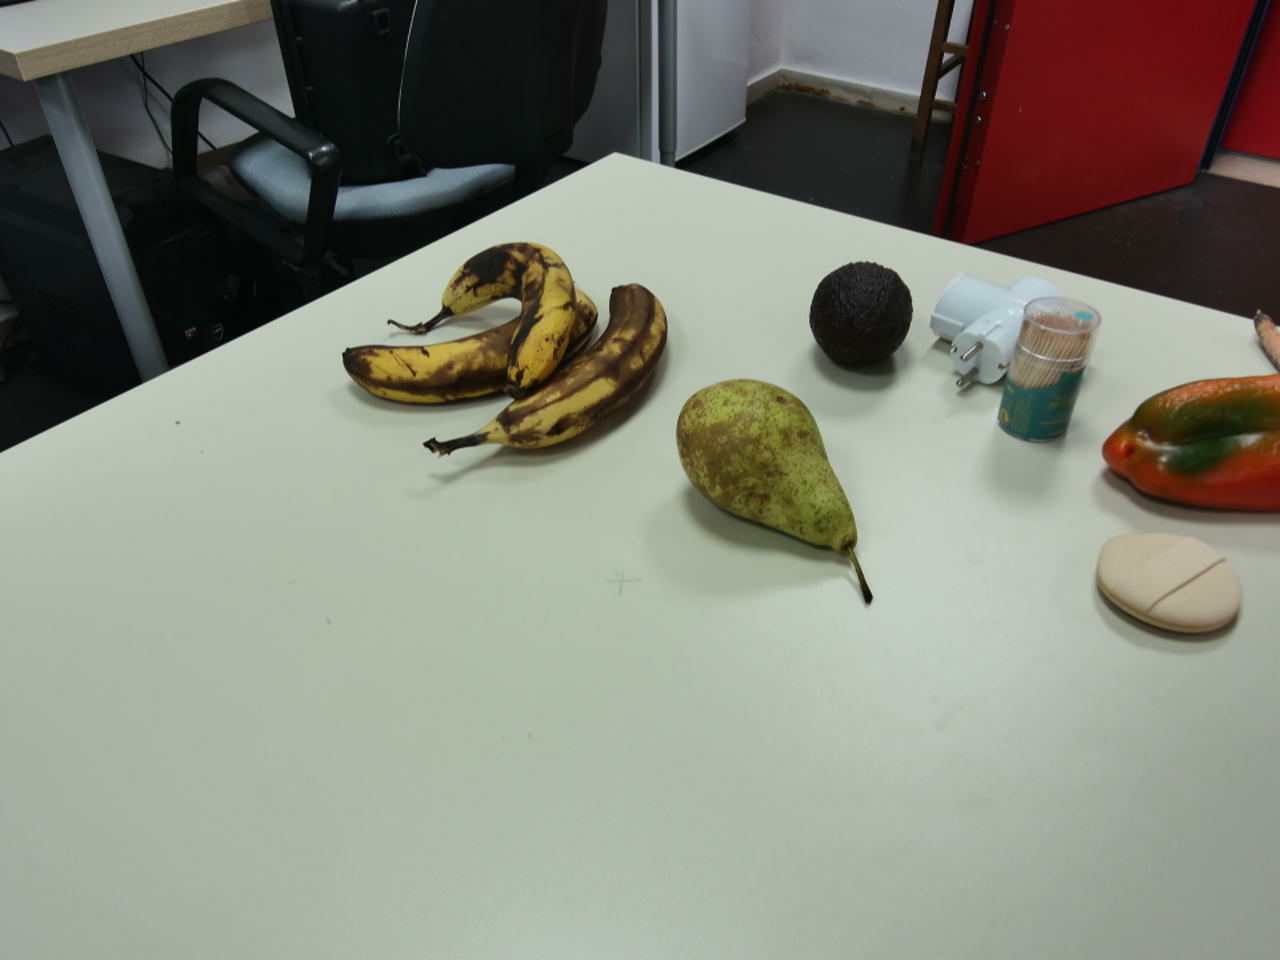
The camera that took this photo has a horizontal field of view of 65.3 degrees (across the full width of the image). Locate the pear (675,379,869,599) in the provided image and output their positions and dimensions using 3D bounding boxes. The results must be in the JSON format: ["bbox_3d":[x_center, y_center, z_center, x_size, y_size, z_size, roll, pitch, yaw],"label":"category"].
[{"bbox_3d":[0.077,-0.009,0.521,0.128,0.075,0.071,21,41,23],"label":"pear"}]
